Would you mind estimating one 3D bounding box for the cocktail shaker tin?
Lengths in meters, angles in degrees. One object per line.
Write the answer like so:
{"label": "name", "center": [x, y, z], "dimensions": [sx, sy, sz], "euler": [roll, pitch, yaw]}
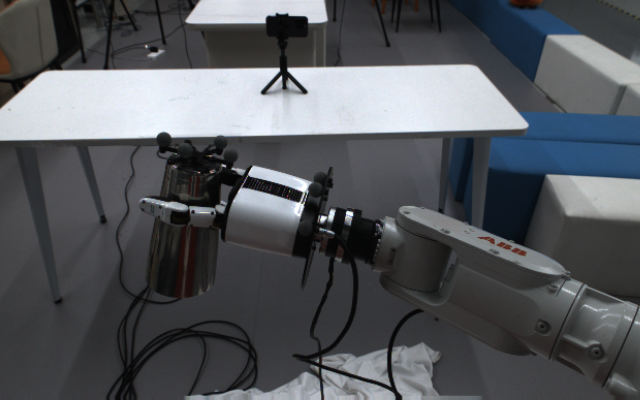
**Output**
{"label": "cocktail shaker tin", "center": [-0.166, 0.027, 0.619], "dimensions": [0.093, 0.170, 0.093], "euler": [12, 25, -6]}
